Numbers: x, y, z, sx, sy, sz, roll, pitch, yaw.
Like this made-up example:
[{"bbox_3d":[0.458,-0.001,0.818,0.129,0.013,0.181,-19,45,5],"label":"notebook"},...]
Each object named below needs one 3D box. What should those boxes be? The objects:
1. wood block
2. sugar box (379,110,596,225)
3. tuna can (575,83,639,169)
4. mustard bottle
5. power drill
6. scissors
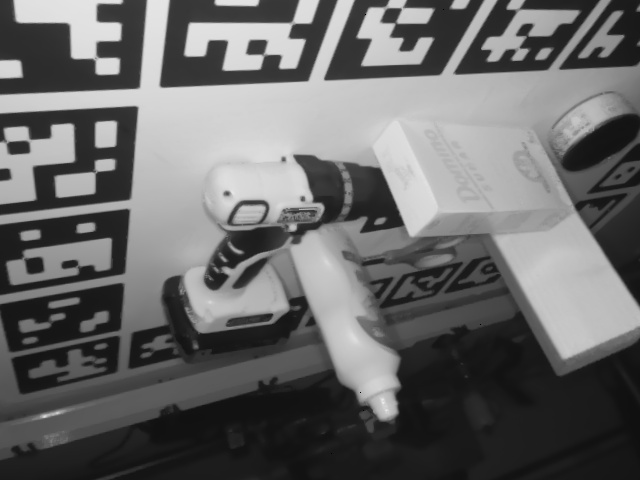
[{"bbox_3d":[0.258,0.019,0.698,0.091,0.206,0.090,-25,147,2],"label":"wood block"},{"bbox_3d":[0.147,-0.061,0.600,0.179,0.093,0.044,0,144,-30],"label":"sugar box"},{"bbox_3d":[0.293,-0.110,0.671,0.086,0.034,0.085,-17,146,-11],"label":"tuna can"},{"bbox_3d":[0.046,0.071,0.644,0.058,0.191,0.097,-32,146,12],"label":"mustard bottle"},{"bbox_3d":[-0.008,0.002,0.619,0.187,0.057,0.184,-1,134,-33],"label":"power drill"},{"bbox_3d":[0.135,0.026,0.786,0.205,0.016,0.086,-8,148,-24],"label":"scissors"}]
